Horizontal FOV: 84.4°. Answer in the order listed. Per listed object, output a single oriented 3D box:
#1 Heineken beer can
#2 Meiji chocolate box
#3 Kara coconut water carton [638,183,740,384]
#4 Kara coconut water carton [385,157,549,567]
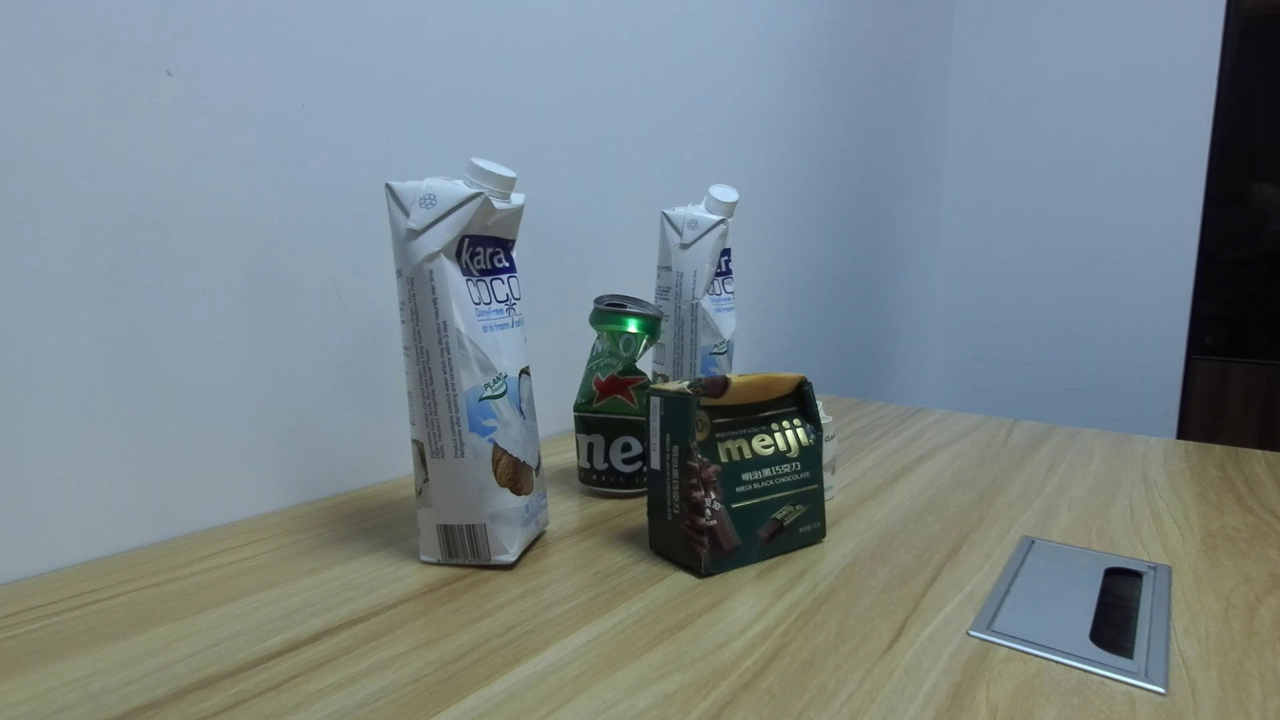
[{"bbox_3d":[-0.017,0.030,0.561,0.078,0.159,0.067,15,18,37],"label":"Heineken beer can"},{"bbox_3d":[0.063,0.071,0.463,0.114,0.110,0.058,-3,1,-33],"label":"Meiji chocolate box"},{"bbox_3d":[0.052,-0.037,0.676,0.078,0.255,0.083,6,11,28],"label":"Kara coconut water carton"},{"bbox_3d":[-0.105,0.000,0.448,0.071,0.244,0.100,-1,10,10],"label":"Kara coconut water carton"}]
